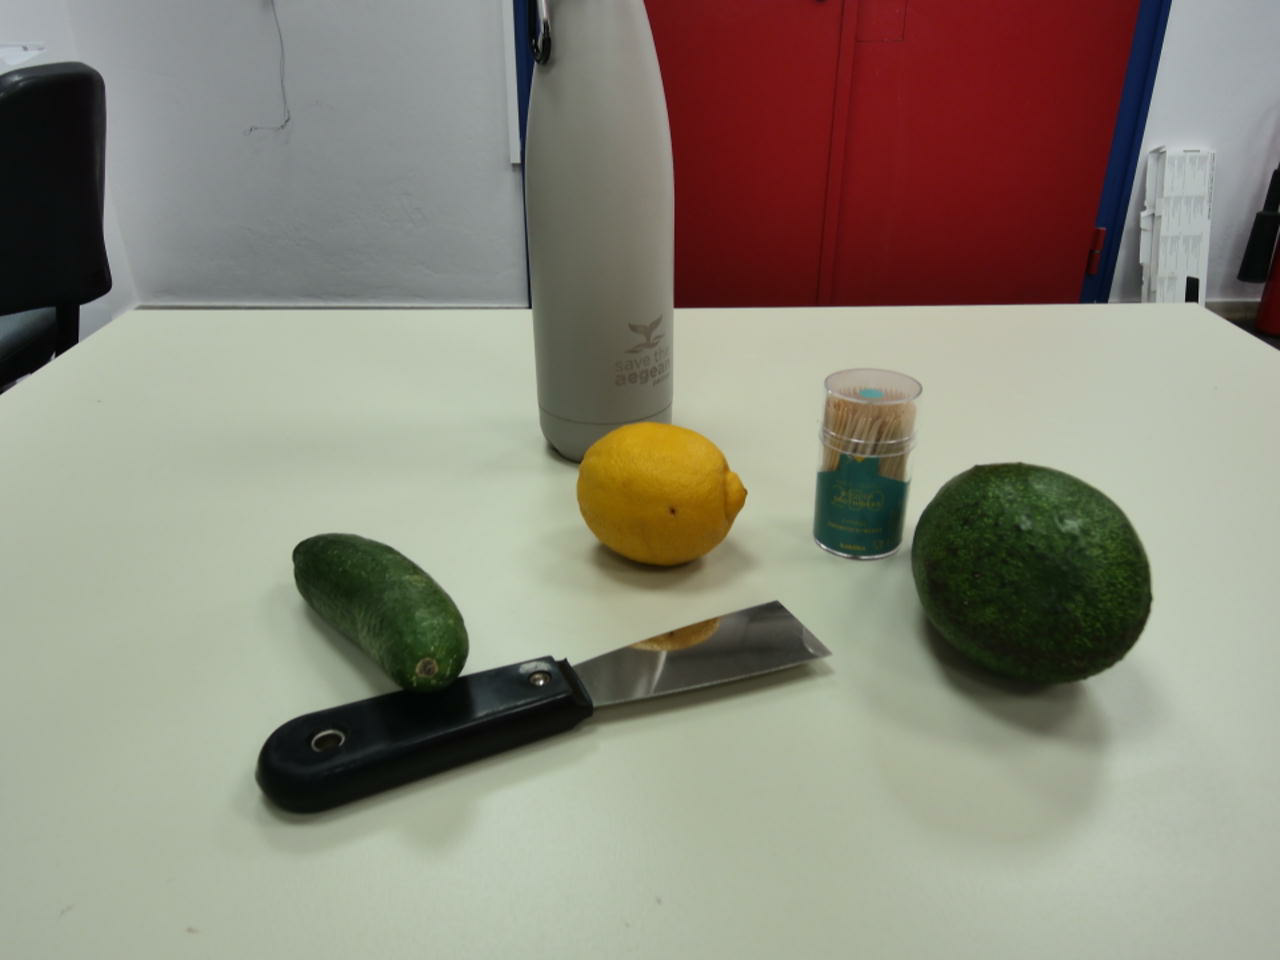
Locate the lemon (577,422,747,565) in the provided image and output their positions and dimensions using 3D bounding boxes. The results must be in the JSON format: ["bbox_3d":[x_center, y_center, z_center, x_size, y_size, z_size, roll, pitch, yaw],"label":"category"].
[{"bbox_3d":[0.007,0.006,0.423,0.067,0.059,0.060,20,31,38],"label":"lemon"}]
